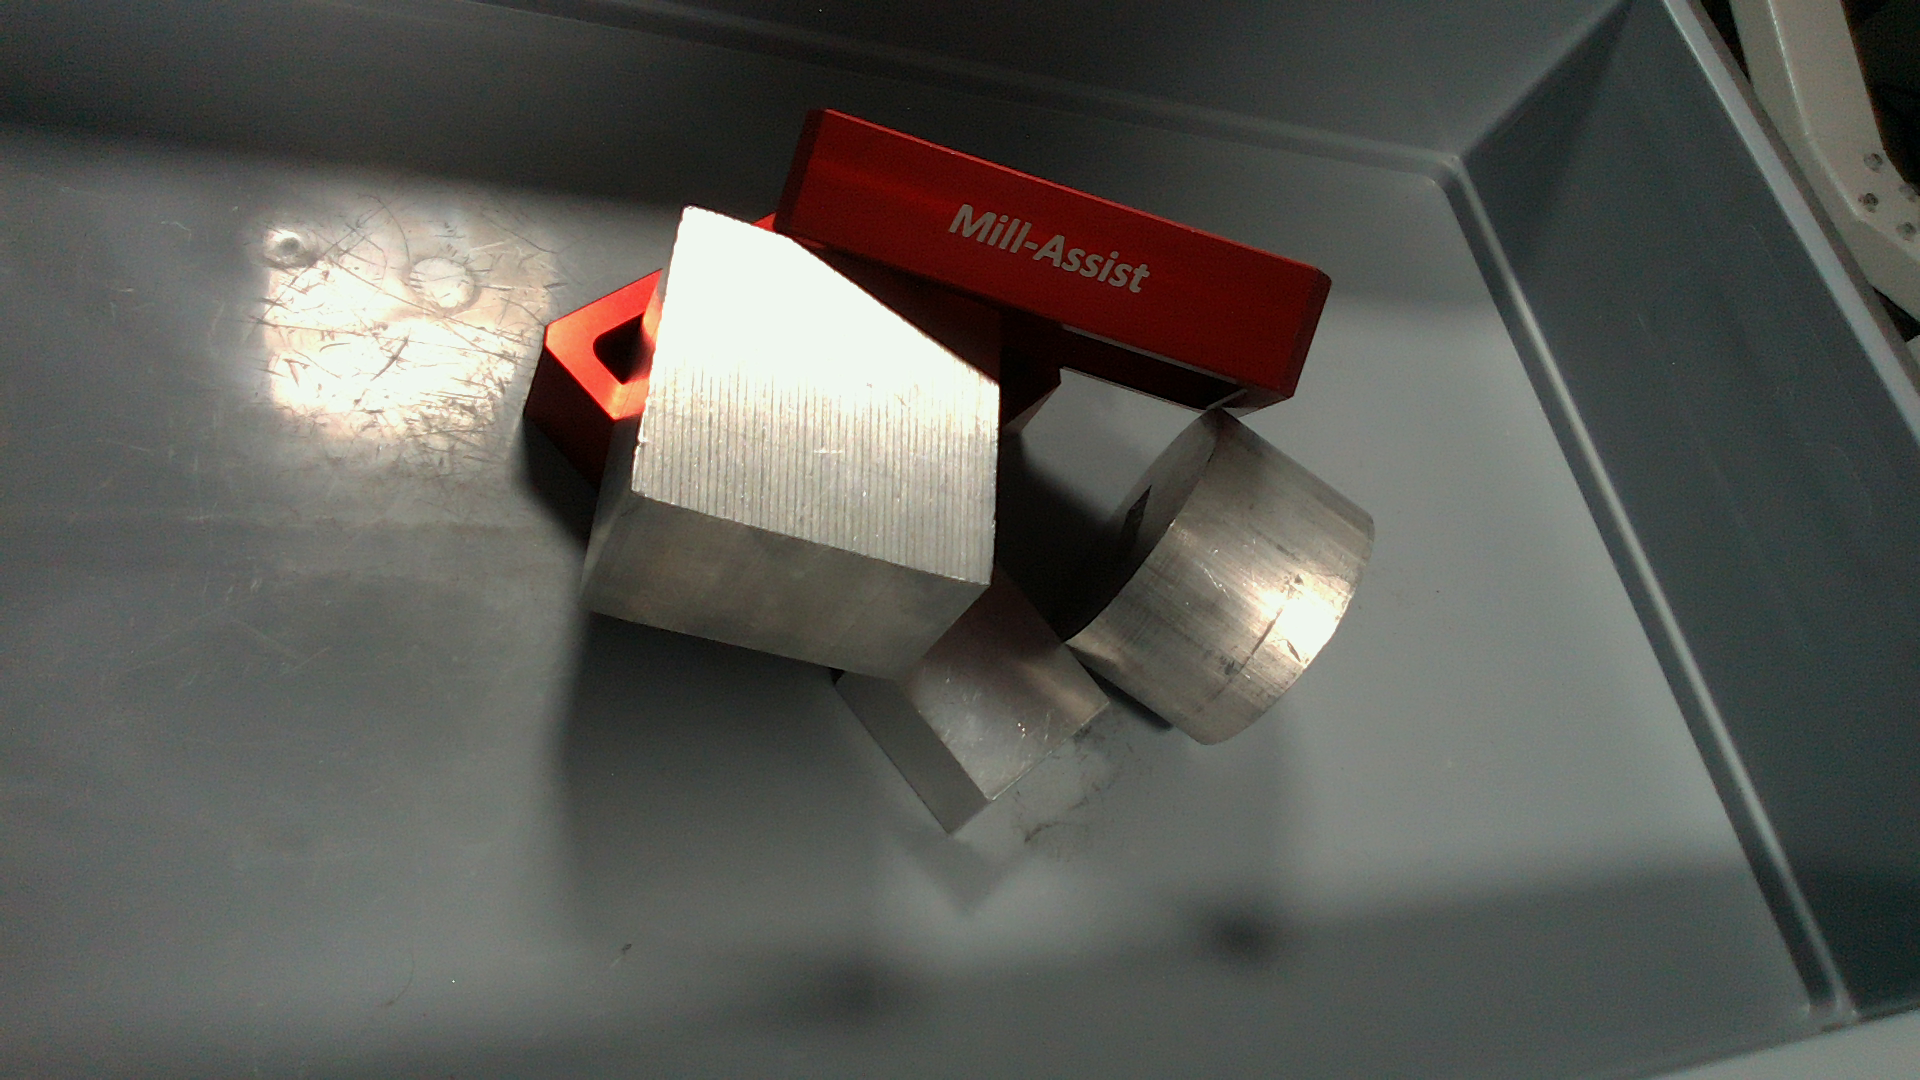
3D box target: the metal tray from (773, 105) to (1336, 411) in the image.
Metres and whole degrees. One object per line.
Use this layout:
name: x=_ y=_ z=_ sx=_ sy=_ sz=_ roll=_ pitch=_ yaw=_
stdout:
metal tray: x=0.023 y=-0.069 z=0.363 sx=0.130 sy=0.090 sz=0.030 roll=18 pitch=92 yaw=0

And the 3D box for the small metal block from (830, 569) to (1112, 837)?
small metal block: x=0.003 y=0.041 z=0.365 sx=0.050 sy=0.025 sz=0.050 roll=-33 pitch=80 yaw=-38

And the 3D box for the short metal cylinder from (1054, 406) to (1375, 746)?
short metal cylinder: x=0.069 y=0.010 z=0.385 sx=0.050 sy=0.080 sz=0.080 roll=34 pitch=51 yaw=-6

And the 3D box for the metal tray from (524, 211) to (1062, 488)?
metal tray: x=-0.042 y=-0.044 z=0.389 sx=0.090 sy=0.030 sz=0.130 roll=47 pitch=51 yaw=5

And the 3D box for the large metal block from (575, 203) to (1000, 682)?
large metal block: x=-0.038 y=-0.021 z=0.323 sx=0.080 sy=0.050 sz=0.080 roll=15 pitch=55 yaw=-20
